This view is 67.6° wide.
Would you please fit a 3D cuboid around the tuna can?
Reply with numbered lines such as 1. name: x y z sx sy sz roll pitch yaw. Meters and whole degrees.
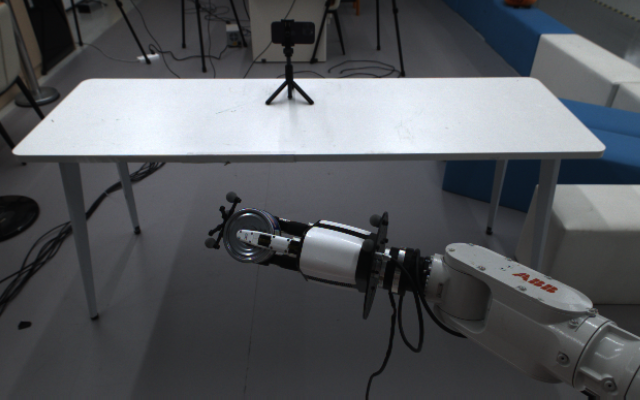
1. tuna can: -0.104 0.054 0.748 0.085 0.085 0.034 12 -3 14
